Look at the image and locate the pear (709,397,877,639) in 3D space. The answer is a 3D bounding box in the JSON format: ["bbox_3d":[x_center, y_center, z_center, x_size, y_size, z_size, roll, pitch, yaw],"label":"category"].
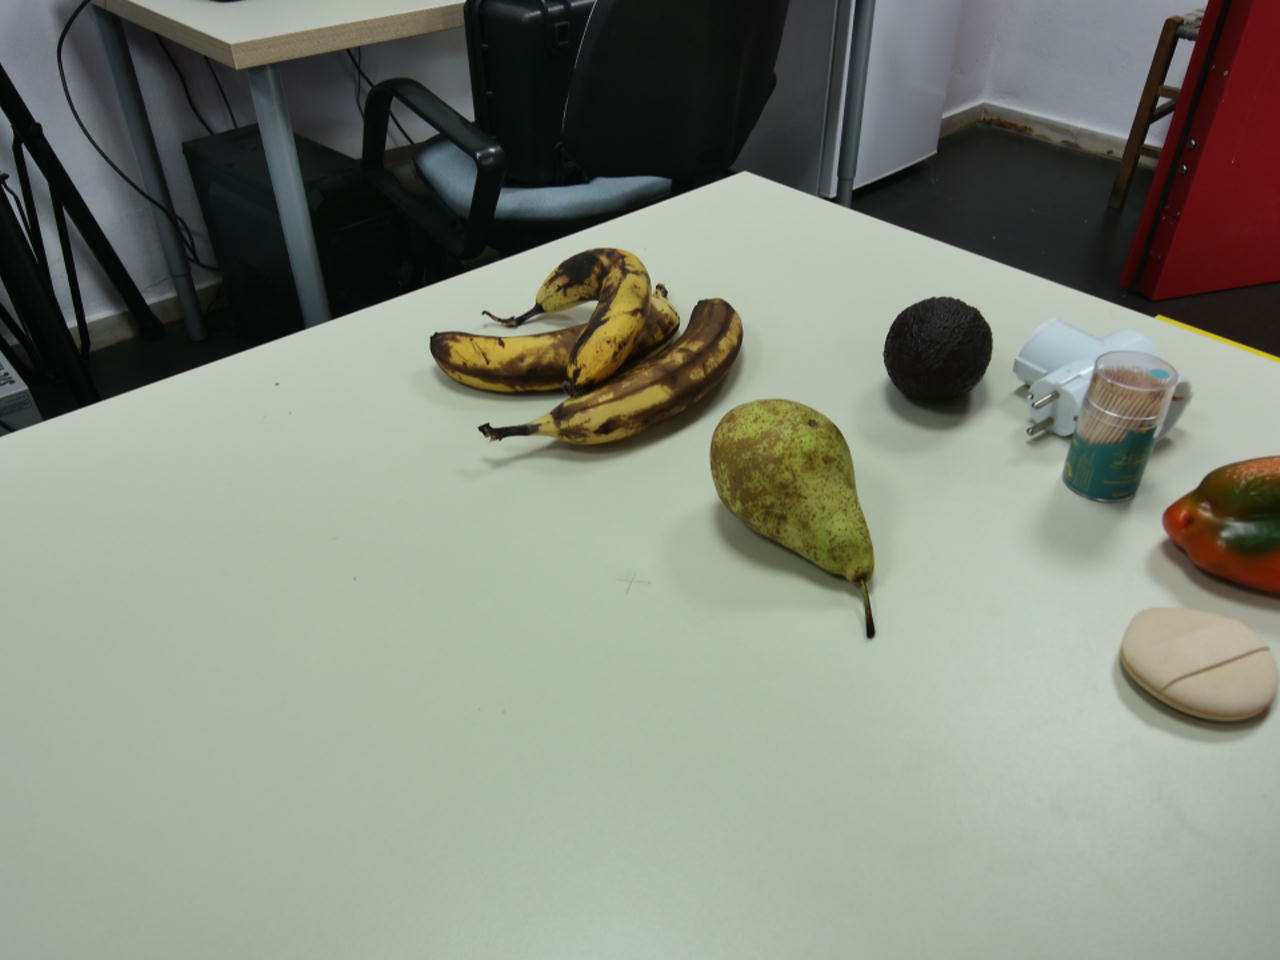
[{"bbox_3d":[0.089,0.004,0.517,0.128,0.075,0.071,29,44,32],"label":"pear"}]
